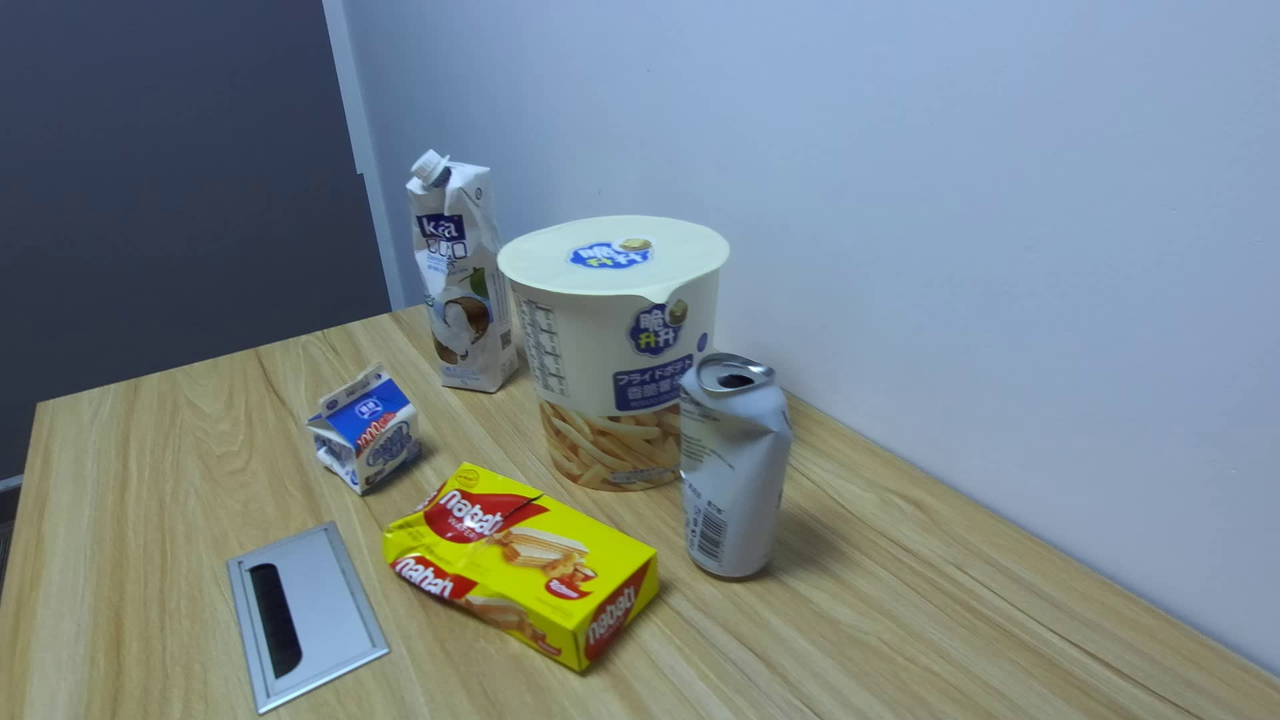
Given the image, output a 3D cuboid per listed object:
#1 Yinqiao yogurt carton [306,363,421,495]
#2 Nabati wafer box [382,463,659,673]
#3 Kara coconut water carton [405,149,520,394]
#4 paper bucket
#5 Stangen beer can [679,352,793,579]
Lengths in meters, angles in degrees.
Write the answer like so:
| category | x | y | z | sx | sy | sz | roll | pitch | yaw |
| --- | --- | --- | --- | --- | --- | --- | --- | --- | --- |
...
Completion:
| category | x | y | z | sx | sy | sz | roll | pitch | yaw |
| --- | --- | --- | --- | --- | --- | --- | --- | --- | --- |
| Yinqiao yogurt carton | -0.256 | 0.056 | 0.640 | 0.080 | 0.097 | 0.074 | 20 | 36 | 24 |
| Nabati wafer box | -0.099 | 0.145 | 0.525 | 0.203 | 0.042 | 0.107 | 17 | 33 | 31 |
| Kara coconut water carton | -0.185 | -0.092 | 0.736 | 0.083 | 0.256 | 0.078 | 15 | 35 | 31 |
| paper bucket | -0.016 | -0.007 | 0.631 | 0.198 | 0.195 | 0.198 | -2 | 29 | 2 |
| Stangen beer can | 0.066 | 0.077 | 0.503 | 0.077 | 0.162 | 0.066 | 2 | 30 | 8 |
